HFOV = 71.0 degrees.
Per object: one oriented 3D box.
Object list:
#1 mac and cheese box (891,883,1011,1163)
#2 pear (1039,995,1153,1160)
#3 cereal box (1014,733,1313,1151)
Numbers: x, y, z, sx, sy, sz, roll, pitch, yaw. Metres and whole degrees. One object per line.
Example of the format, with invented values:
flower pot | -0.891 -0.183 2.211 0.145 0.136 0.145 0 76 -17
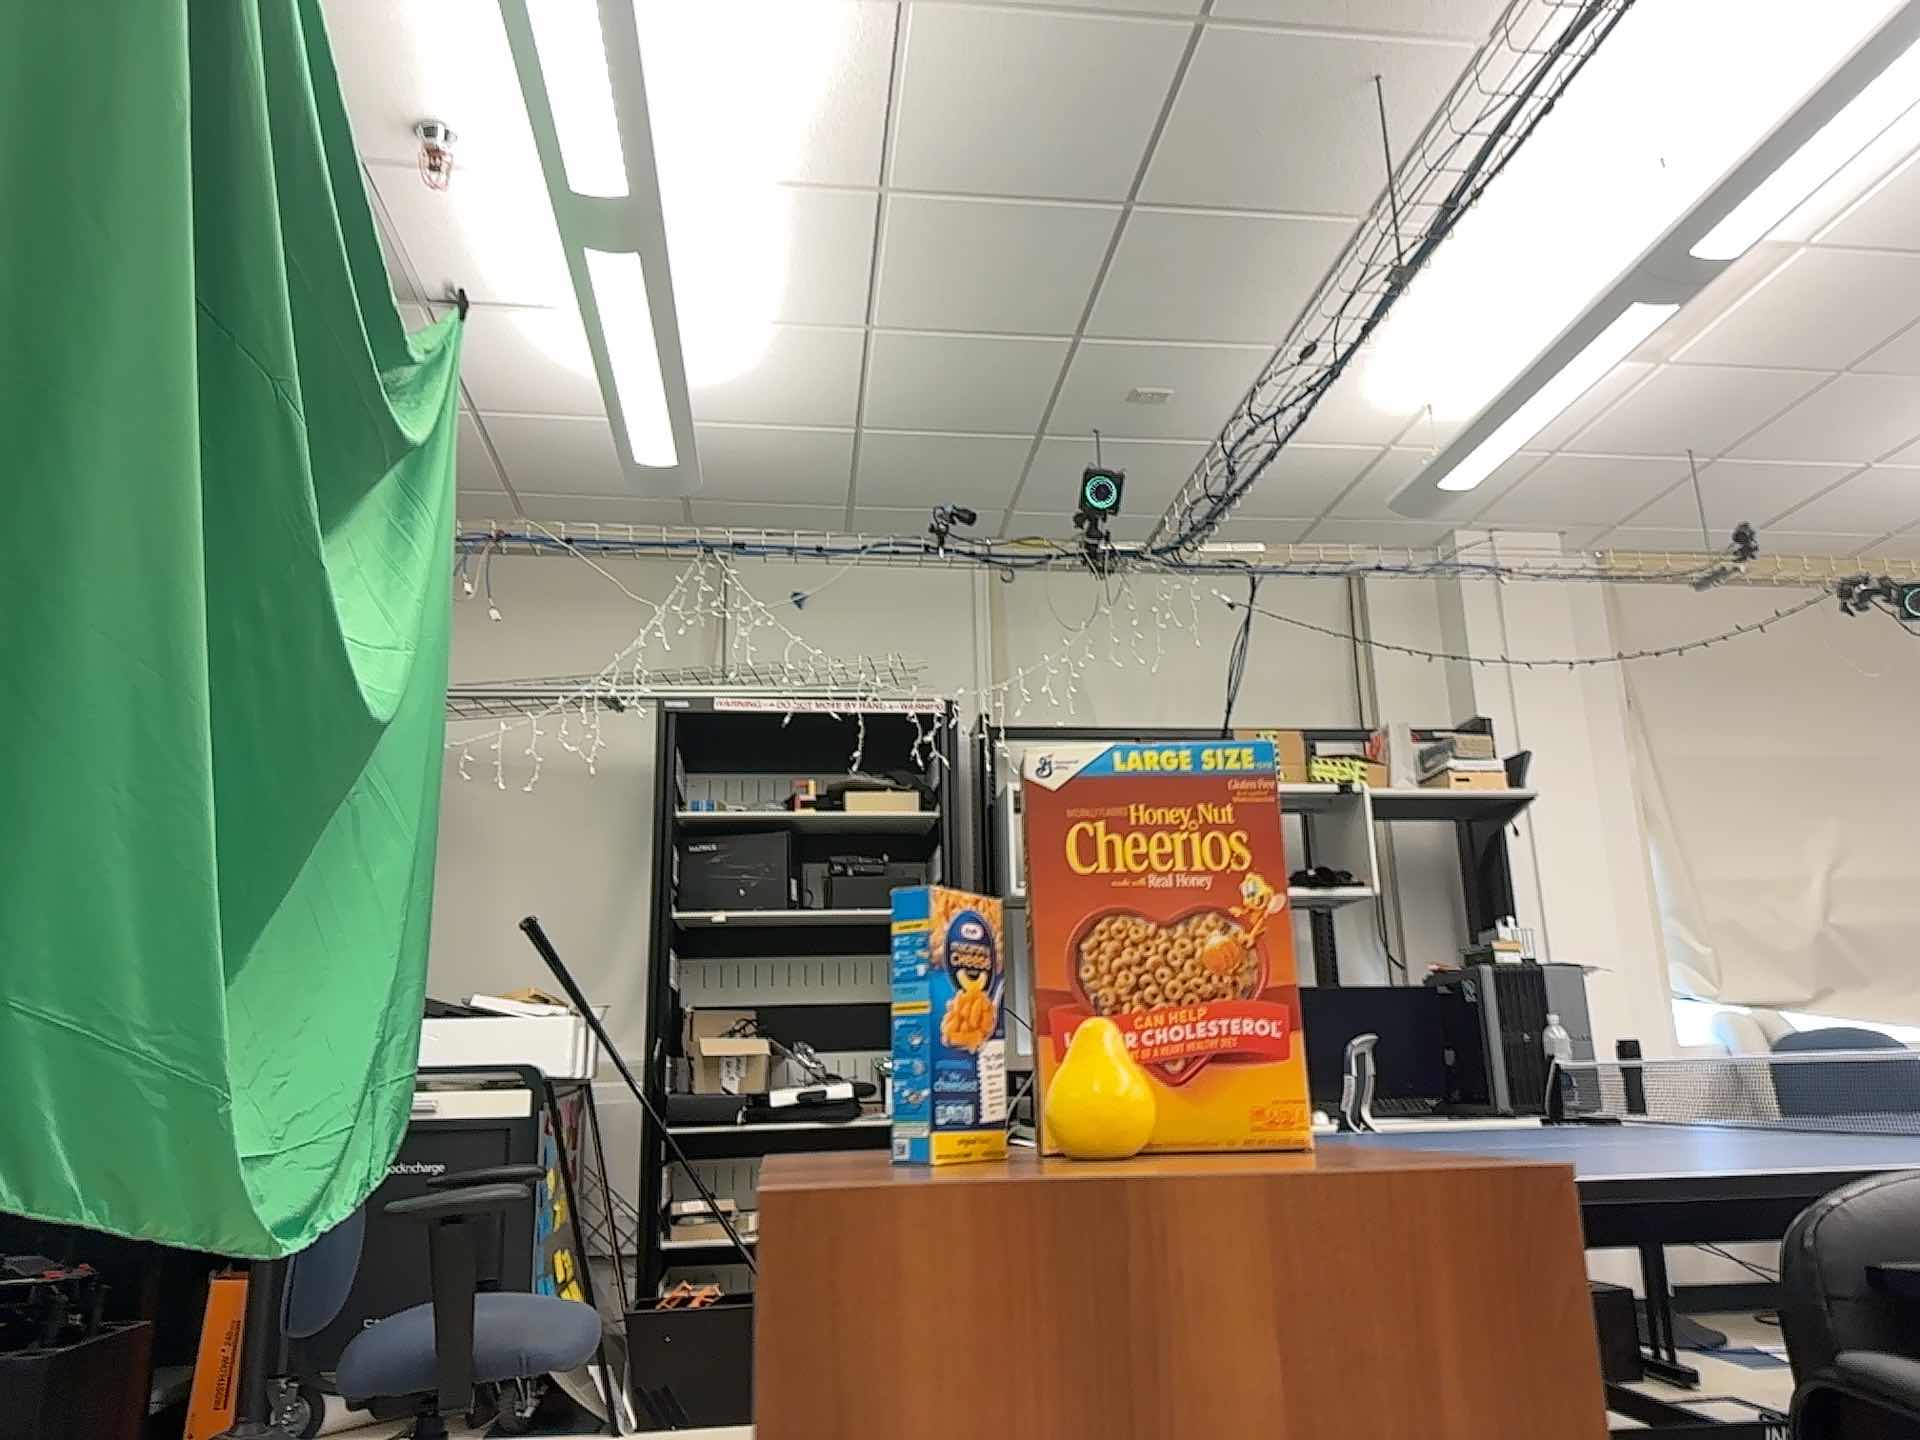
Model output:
mac and cheese box | -0.005 0.211 0.941 0.035 0.181 0.088 -12 -19 37
pear | 0.094 0.242 0.921 0.080 0.111 0.080 1 -19 0
cereal box | 0.148 0.165 1.029 0.195 0.297 0.065 -1 -14 -1
